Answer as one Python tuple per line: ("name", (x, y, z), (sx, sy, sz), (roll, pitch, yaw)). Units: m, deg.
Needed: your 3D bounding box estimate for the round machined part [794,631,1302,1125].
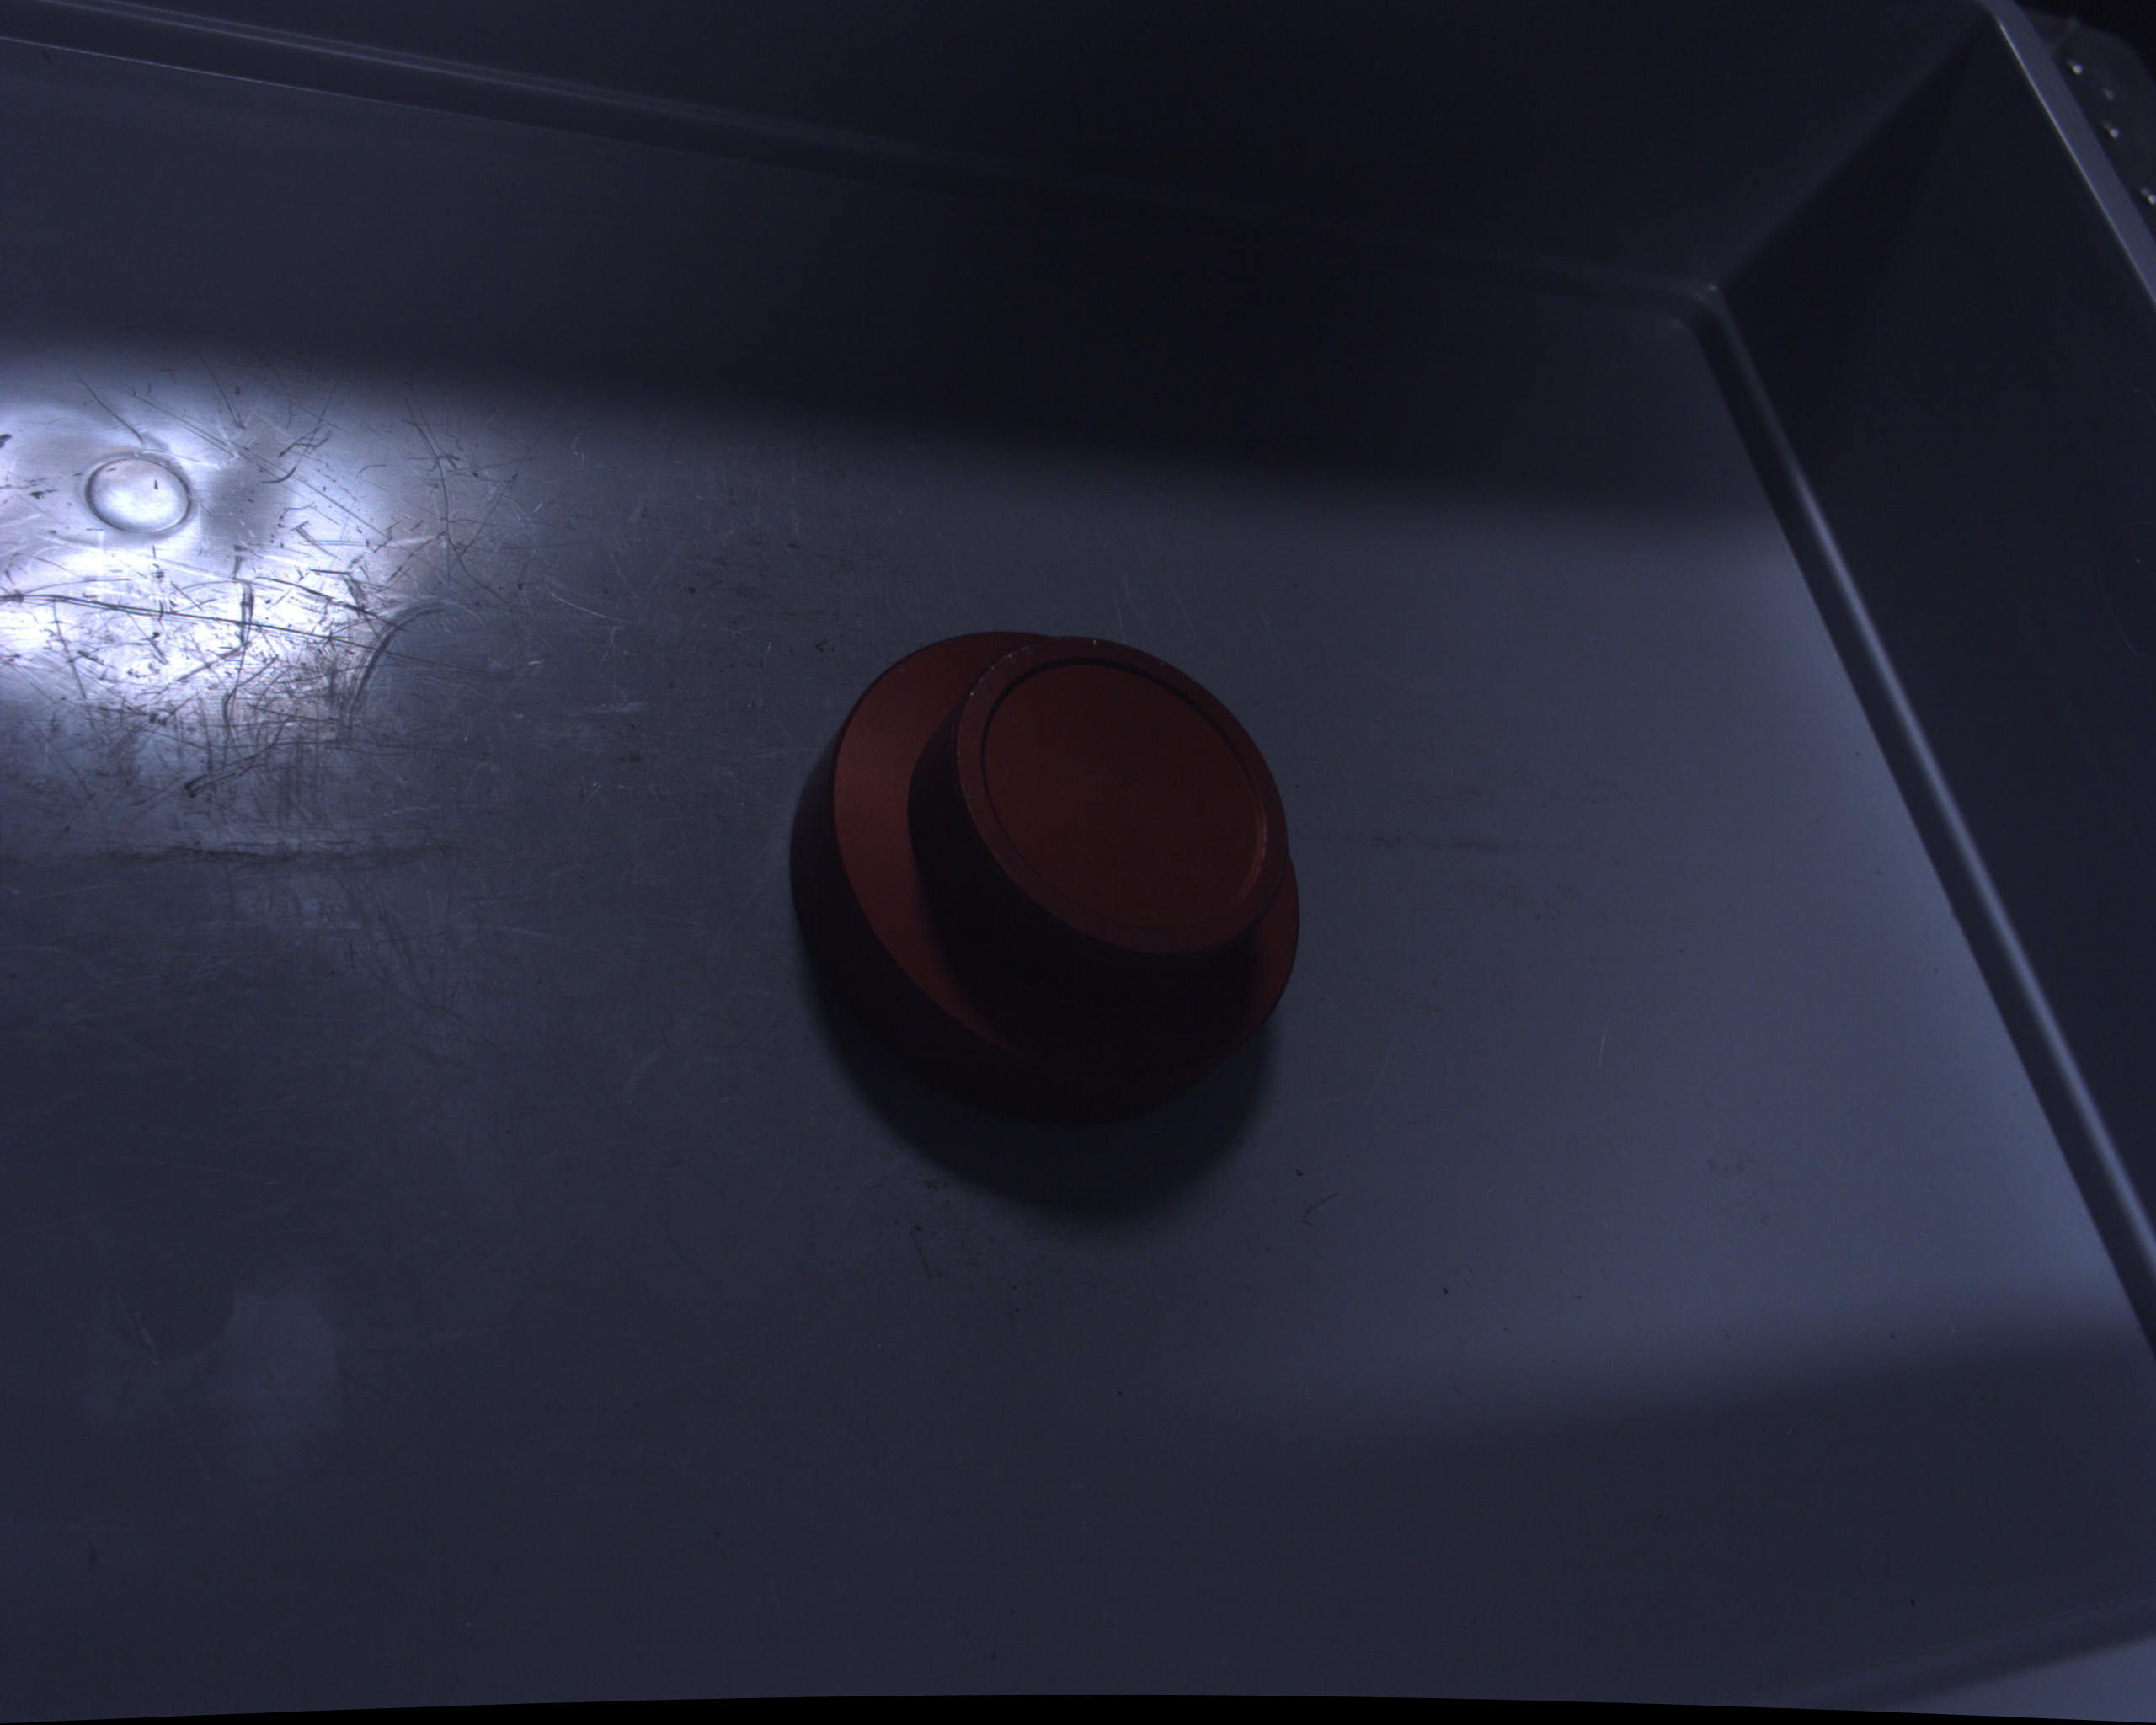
("round machined part", (0.000, -0.003, 0.394), (0.099, 0.042, 0.098), (14, 56, -21))
